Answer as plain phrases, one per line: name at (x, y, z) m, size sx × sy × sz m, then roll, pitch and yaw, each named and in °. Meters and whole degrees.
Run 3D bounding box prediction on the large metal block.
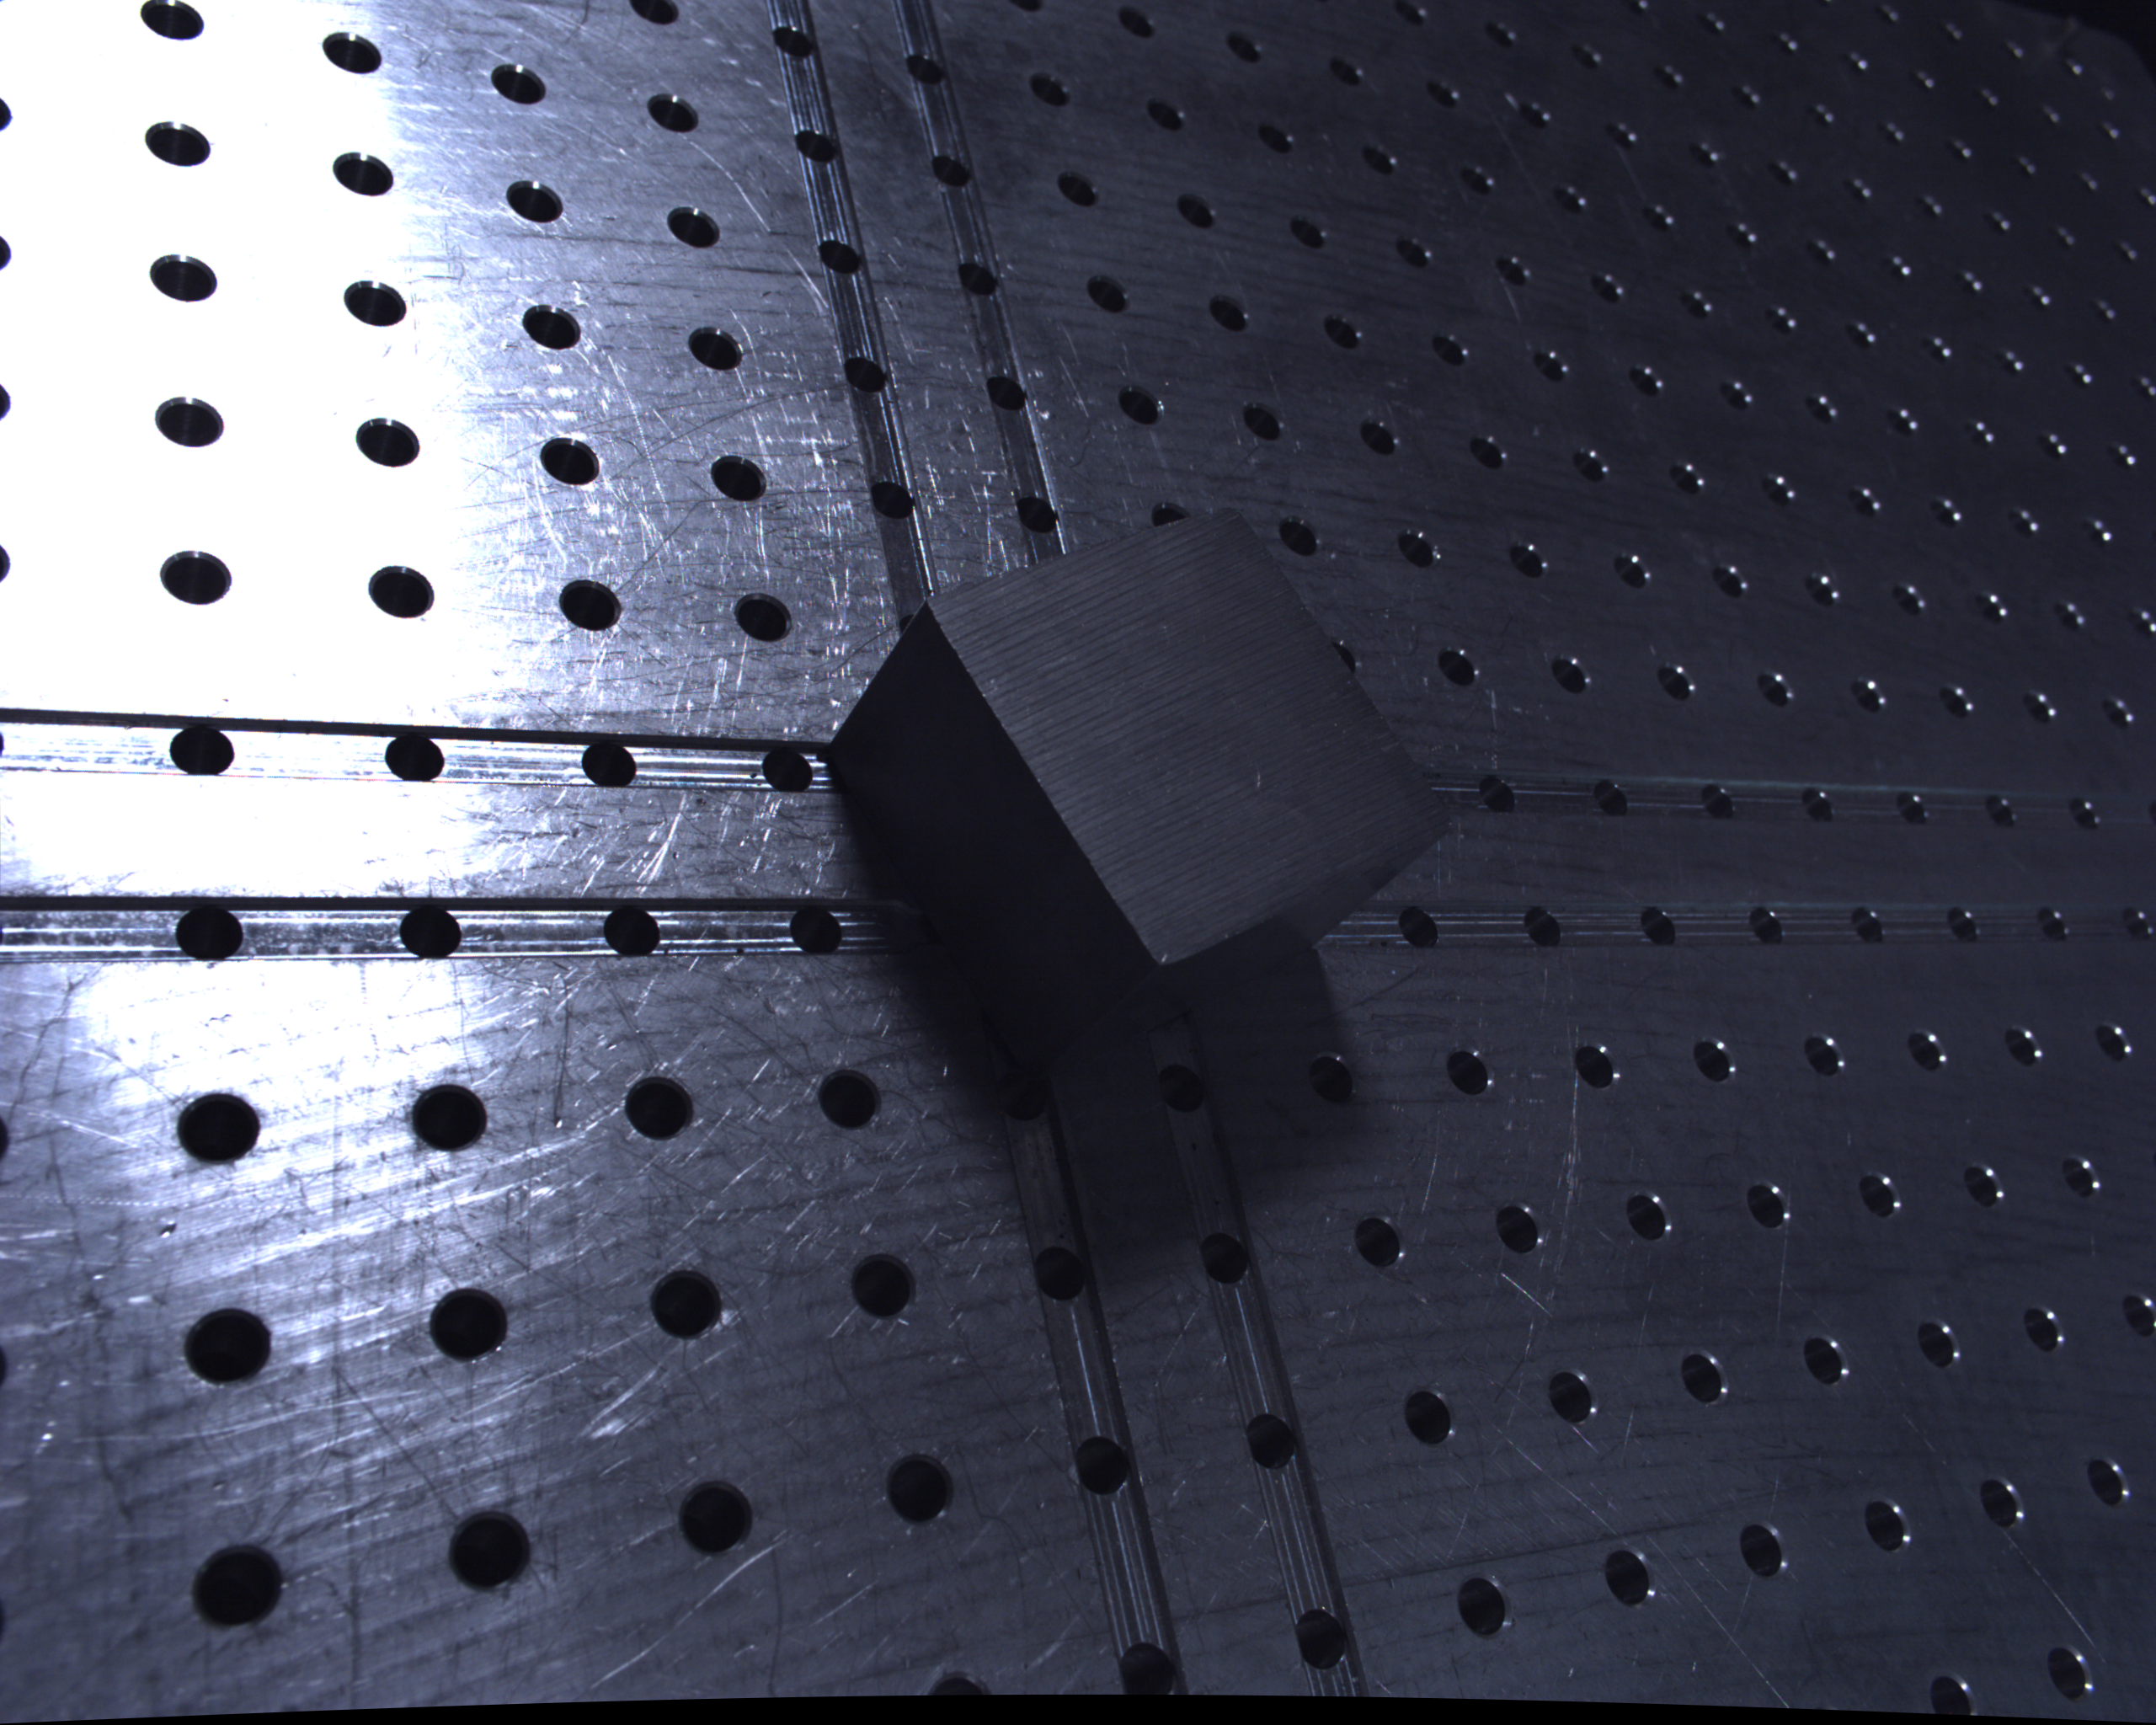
large metal block at (0.013, -0.015, 0.406) m, size 0.081 × 0.050 × 0.080 m, roll -23°, pitch 74°, yaw -37°
